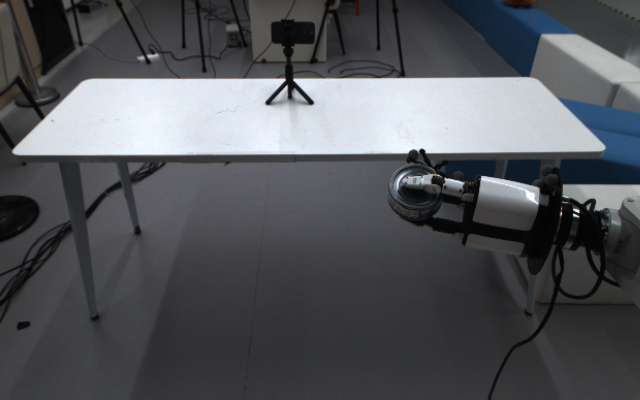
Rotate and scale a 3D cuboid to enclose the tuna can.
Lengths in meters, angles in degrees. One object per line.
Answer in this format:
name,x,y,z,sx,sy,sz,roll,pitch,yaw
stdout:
tuna can,0.152,-0.008,0.746,0.085,0.034,0.085,-4,58,6
